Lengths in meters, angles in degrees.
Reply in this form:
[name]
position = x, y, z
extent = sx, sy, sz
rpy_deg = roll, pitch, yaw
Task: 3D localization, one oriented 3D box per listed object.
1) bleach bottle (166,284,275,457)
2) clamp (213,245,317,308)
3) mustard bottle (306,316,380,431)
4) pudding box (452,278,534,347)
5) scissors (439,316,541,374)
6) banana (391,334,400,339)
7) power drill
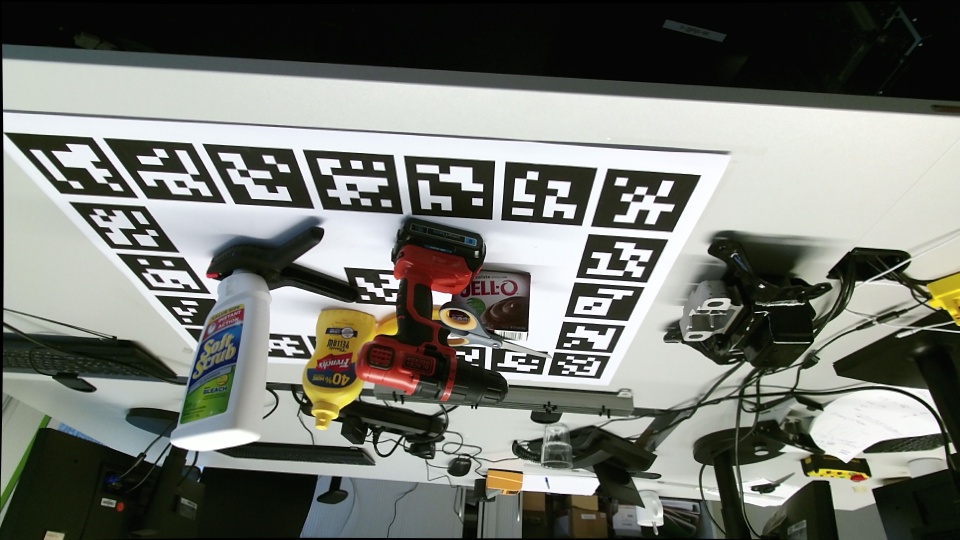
[bleach bottle]
position = -0.338, 0.115, 0.726
extent = 0.103, 0.249, 0.068
rpy_deg = -14, 144, 12
[clamp]
position = -0.296, 0.024, 0.774
extent = 0.203, 0.036, 0.165
rpy_deg = 0, 141, 8
[mustard bottle]
position = -0.226, 0.166, 0.863
extent = 0.096, 0.190, 0.058
rpy_deg = 12, 143, -8
[pudding box]
position = 0.019, 0.061, 0.771
extent = 0.114, 0.089, 0.039
rpy_deg = 6, 150, -1
[scissors]
position = 0.024, 0.117, 0.738
extent = 0.203, 0.016, 0.088
rpy_deg = 22, 136, -15
[banana]
position = -0.114, 0.129, 0.909
extent = 0.198, 0.038, 0.074
rpy_deg = -24, 152, 32
[power drill]
position = -0.044, 0.069, 0.659
extent = 0.185, 0.186, 0.057
rpy_deg = 9, 150, -10
